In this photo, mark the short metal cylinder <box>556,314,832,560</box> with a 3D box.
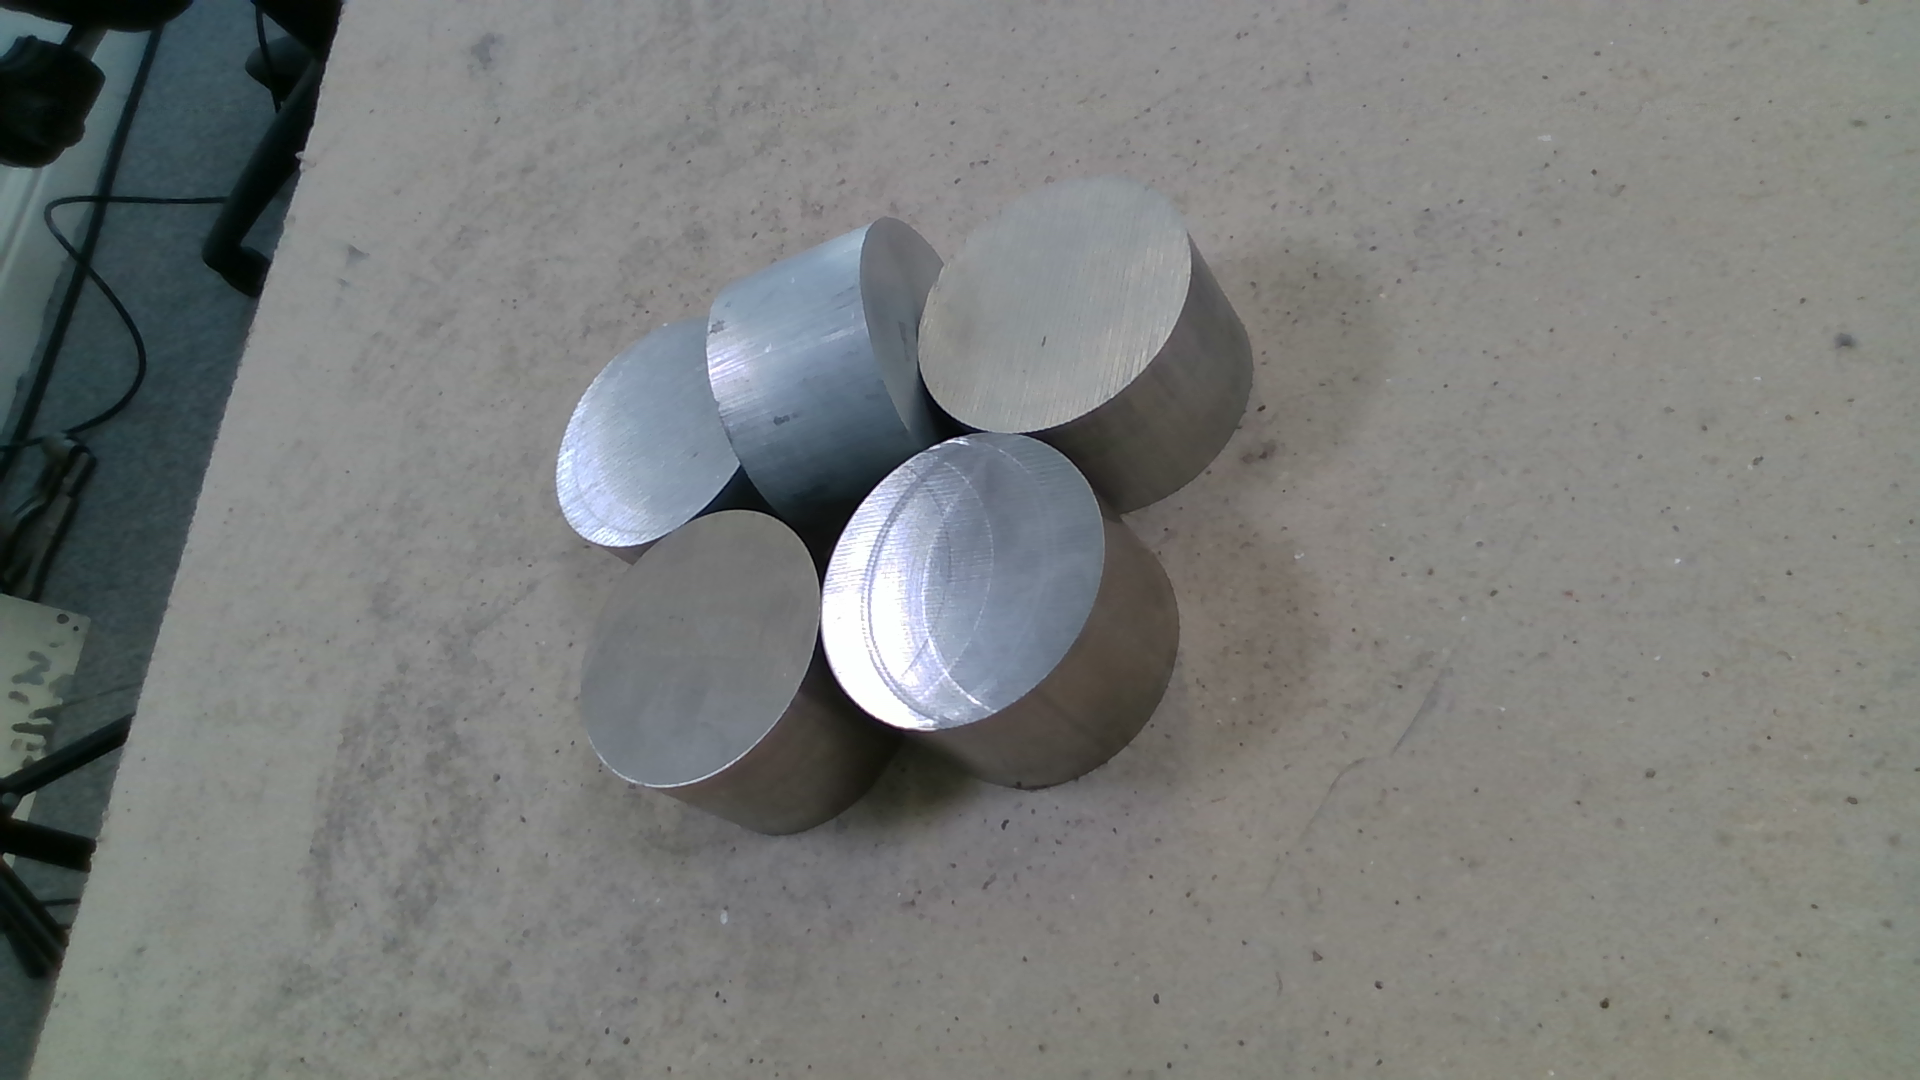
[{"bbox_3d":[-0.081,-0.024,0.439,0.080,0.050,0.080,-15,58,25],"label":"short metal cylinder"}]

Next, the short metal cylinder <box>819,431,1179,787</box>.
[{"bbox_3d":[0.010,0.019,0.360,0.080,0.050,0.080,-15,59,25],"label":"short metal cylinder"}]

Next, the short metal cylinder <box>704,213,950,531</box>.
[{"bbox_3d":[-0.029,-0.048,0.401,0.050,0.080,0.080,-17,58,23],"label":"short metal cylinder"}]

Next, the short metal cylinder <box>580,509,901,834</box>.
[{"bbox_3d":[-0.060,0.038,0.393,0.080,0.050,0.080,-15,58,25],"label":"short metal cylinder"}]

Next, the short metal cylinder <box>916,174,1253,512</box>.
[{"bbox_3d":[0.035,-0.053,0.384,0.080,0.050,0.080,-15,58,25],"label":"short metal cylinder"}]
